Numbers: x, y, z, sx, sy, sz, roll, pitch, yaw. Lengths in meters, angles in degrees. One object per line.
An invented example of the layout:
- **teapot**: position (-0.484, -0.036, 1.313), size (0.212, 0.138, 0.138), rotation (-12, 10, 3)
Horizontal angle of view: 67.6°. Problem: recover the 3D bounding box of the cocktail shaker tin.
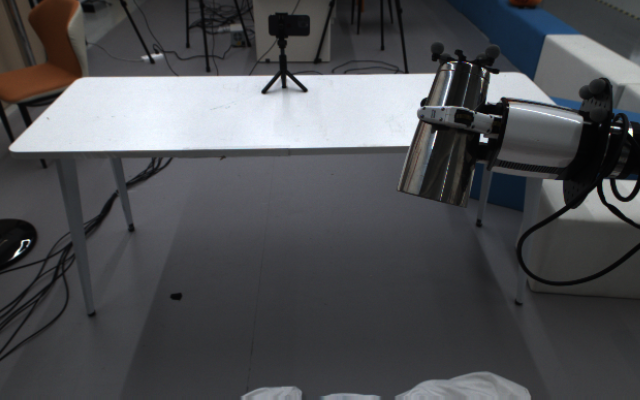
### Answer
- **cocktail shaker tin**: position (0.163, -0.085, 0.621), size (0.093, 0.170, 0.093), rotation (14, 2, 0)
